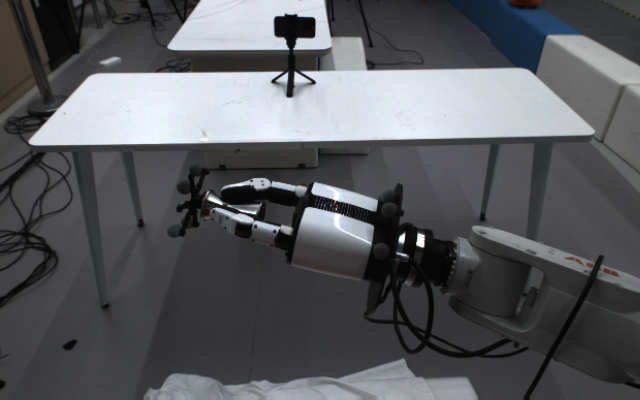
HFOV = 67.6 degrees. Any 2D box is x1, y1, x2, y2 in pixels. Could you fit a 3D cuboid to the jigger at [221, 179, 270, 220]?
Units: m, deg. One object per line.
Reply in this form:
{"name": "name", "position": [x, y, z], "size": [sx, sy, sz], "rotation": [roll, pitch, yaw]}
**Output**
{"name": "jigger", "position": [-0.097, 0.012, 0.583], "size": [0.071, 0.043, 0.043], "rotation": [14, 36, 5]}
